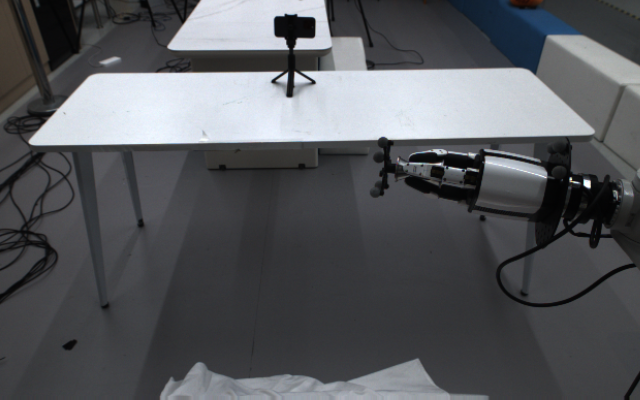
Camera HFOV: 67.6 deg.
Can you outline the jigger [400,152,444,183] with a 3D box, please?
[{"bbox_3d":[0.155,-0.046,0.727,0.071,0.043,0.043,7,35,15],"label":"jigger"}]
